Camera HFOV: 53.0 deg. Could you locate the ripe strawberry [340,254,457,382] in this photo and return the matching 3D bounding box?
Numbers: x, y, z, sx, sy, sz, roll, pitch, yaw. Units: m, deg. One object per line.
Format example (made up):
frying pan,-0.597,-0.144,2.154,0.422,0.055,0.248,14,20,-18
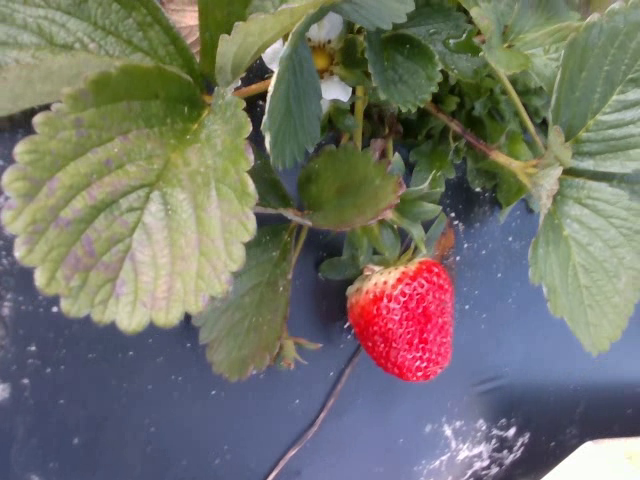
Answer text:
ripe strawberry,0.035,0.037,0.265,0.050,0.053,0.049,3,-31,-33
